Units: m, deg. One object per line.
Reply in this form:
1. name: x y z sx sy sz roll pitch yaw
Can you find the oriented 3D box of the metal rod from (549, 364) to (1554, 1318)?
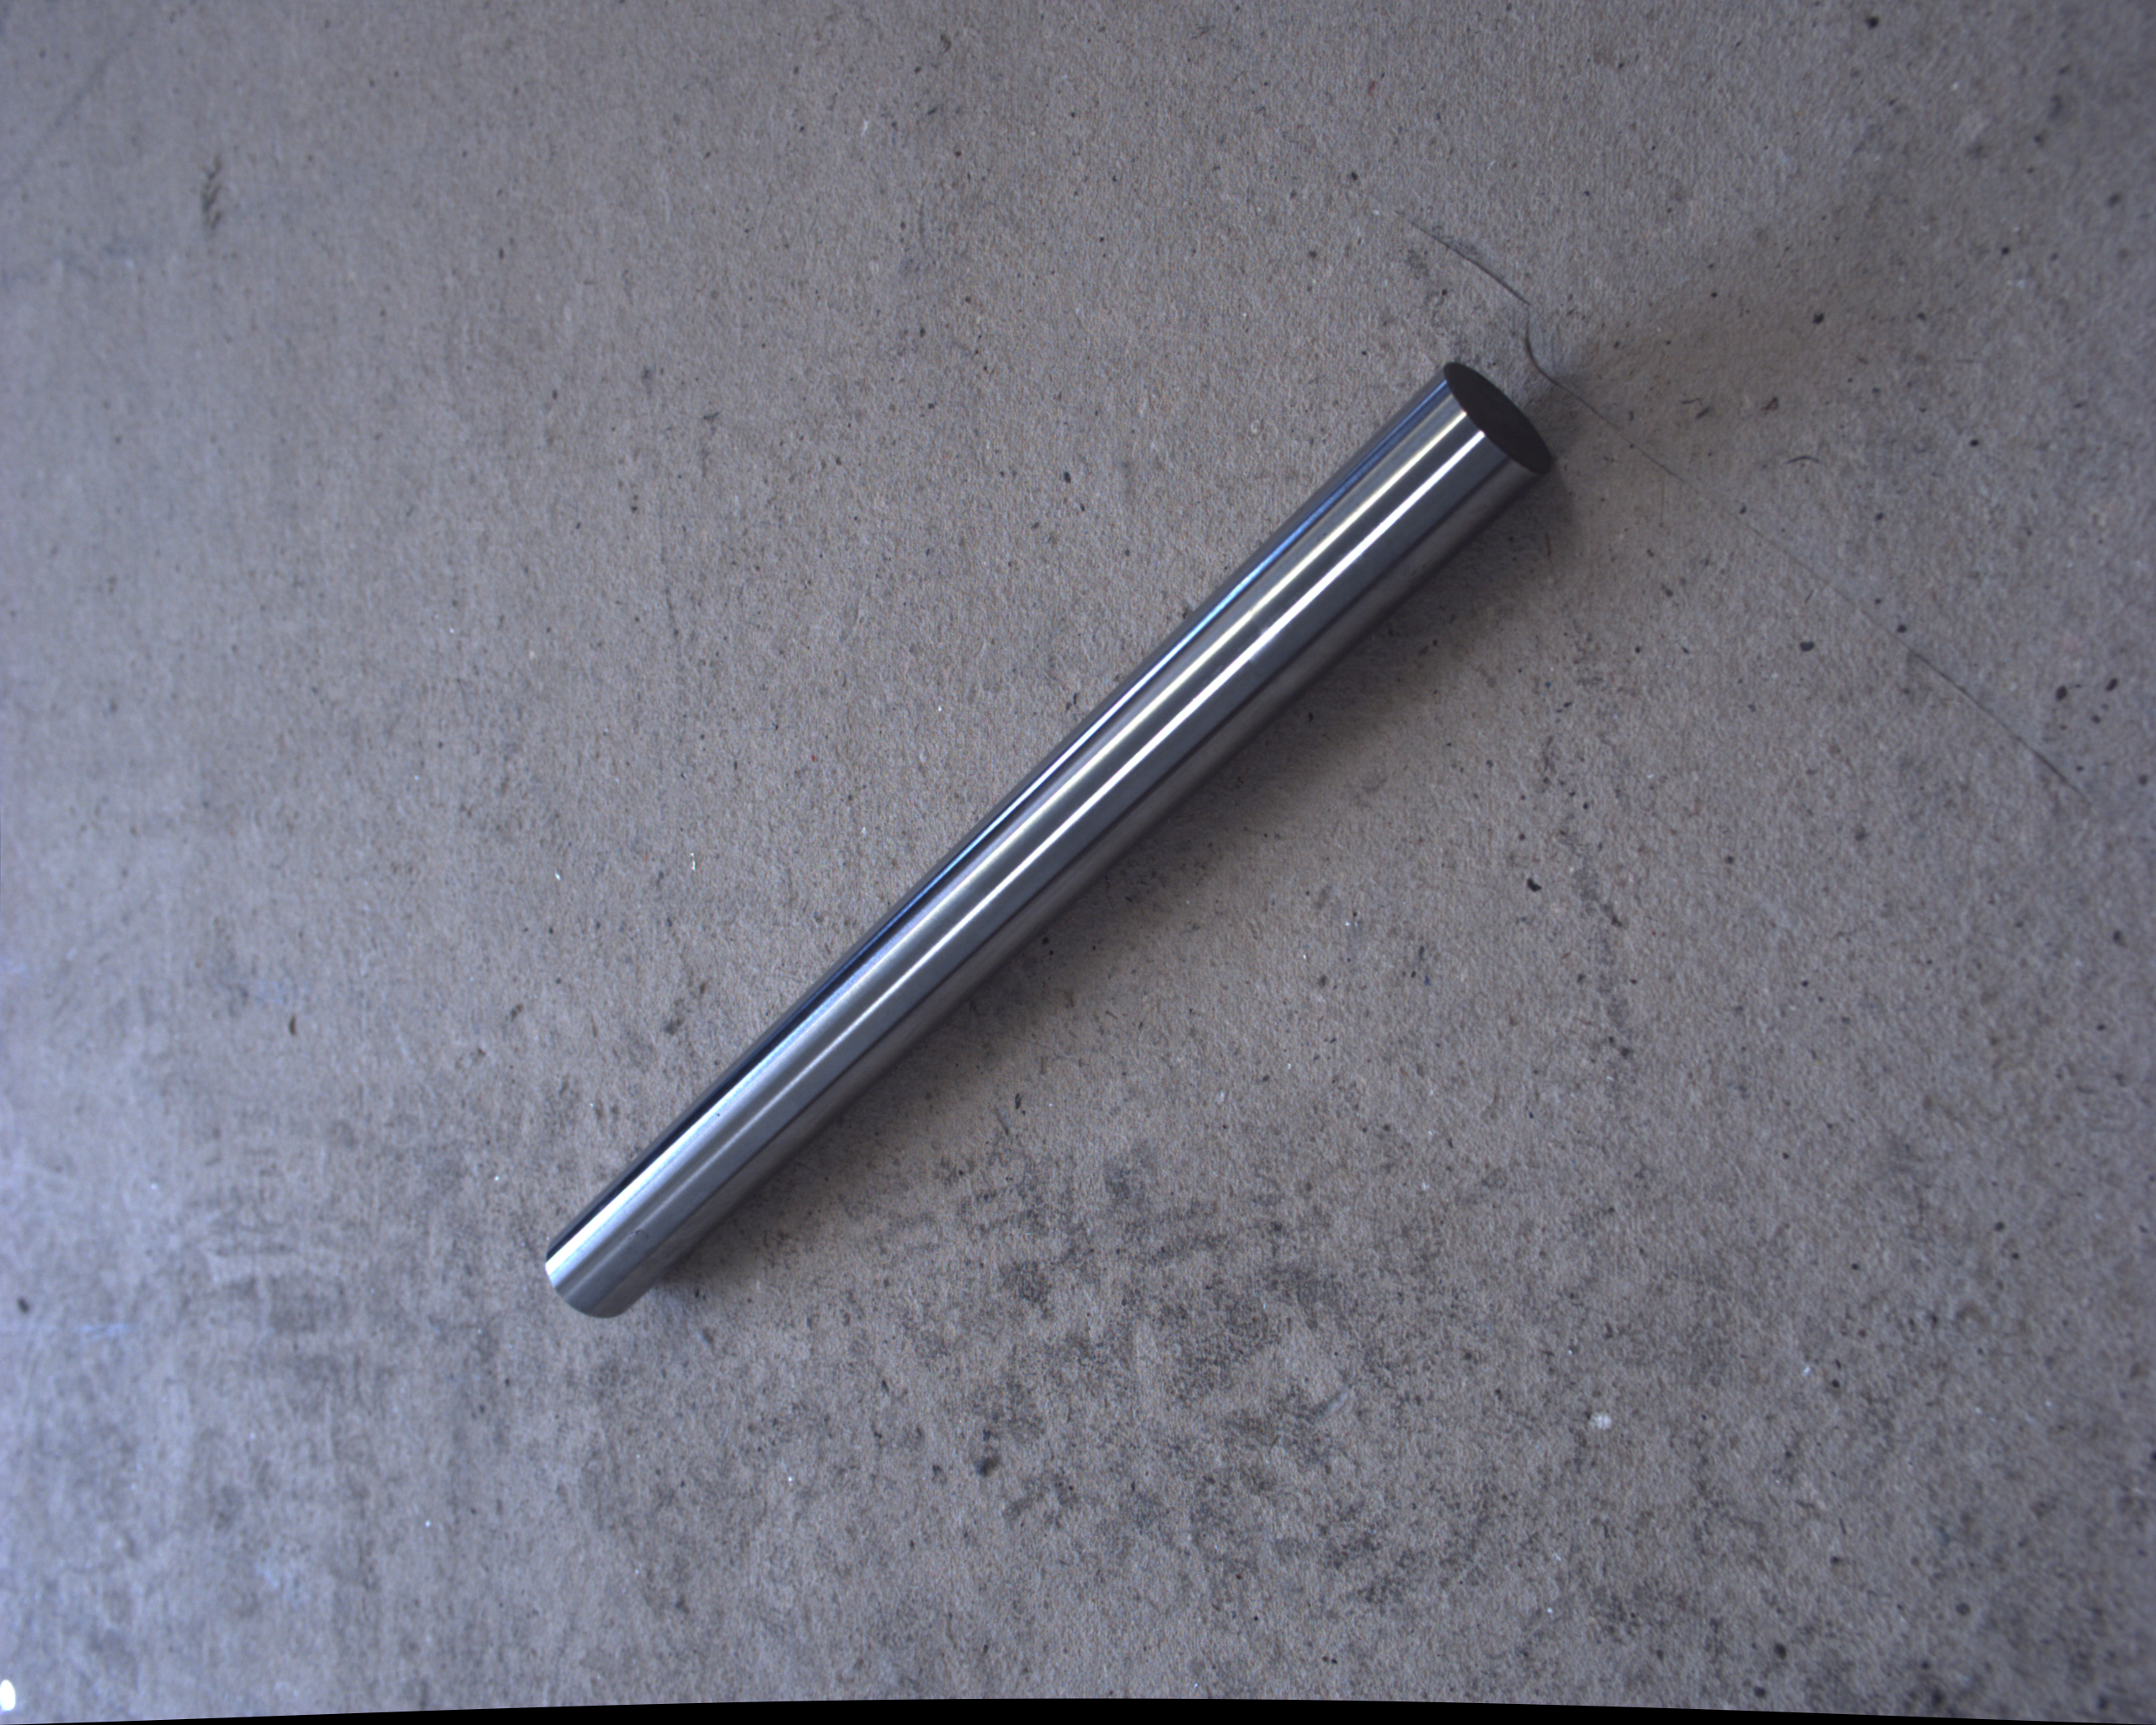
1. metal rod: -0.023 0.012 0.427 0.299 0.025 0.025 -43 64 31
